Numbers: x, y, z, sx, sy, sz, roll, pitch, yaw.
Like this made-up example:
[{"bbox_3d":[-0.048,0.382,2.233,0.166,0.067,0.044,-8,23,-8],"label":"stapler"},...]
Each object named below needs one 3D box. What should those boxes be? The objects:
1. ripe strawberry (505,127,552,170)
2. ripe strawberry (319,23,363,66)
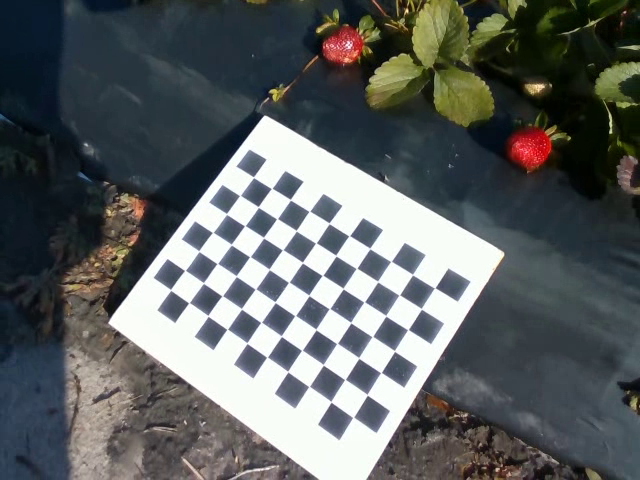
[{"bbox_3d":[0.183,-0.082,0.569,0.050,0.043,0.043,-5,-23,-46],"label":"ripe strawberry"},{"bbox_3d":[0.020,-0.193,0.632,0.053,0.041,0.043,-30,-21,-50],"label":"ripe strawberry"}]
